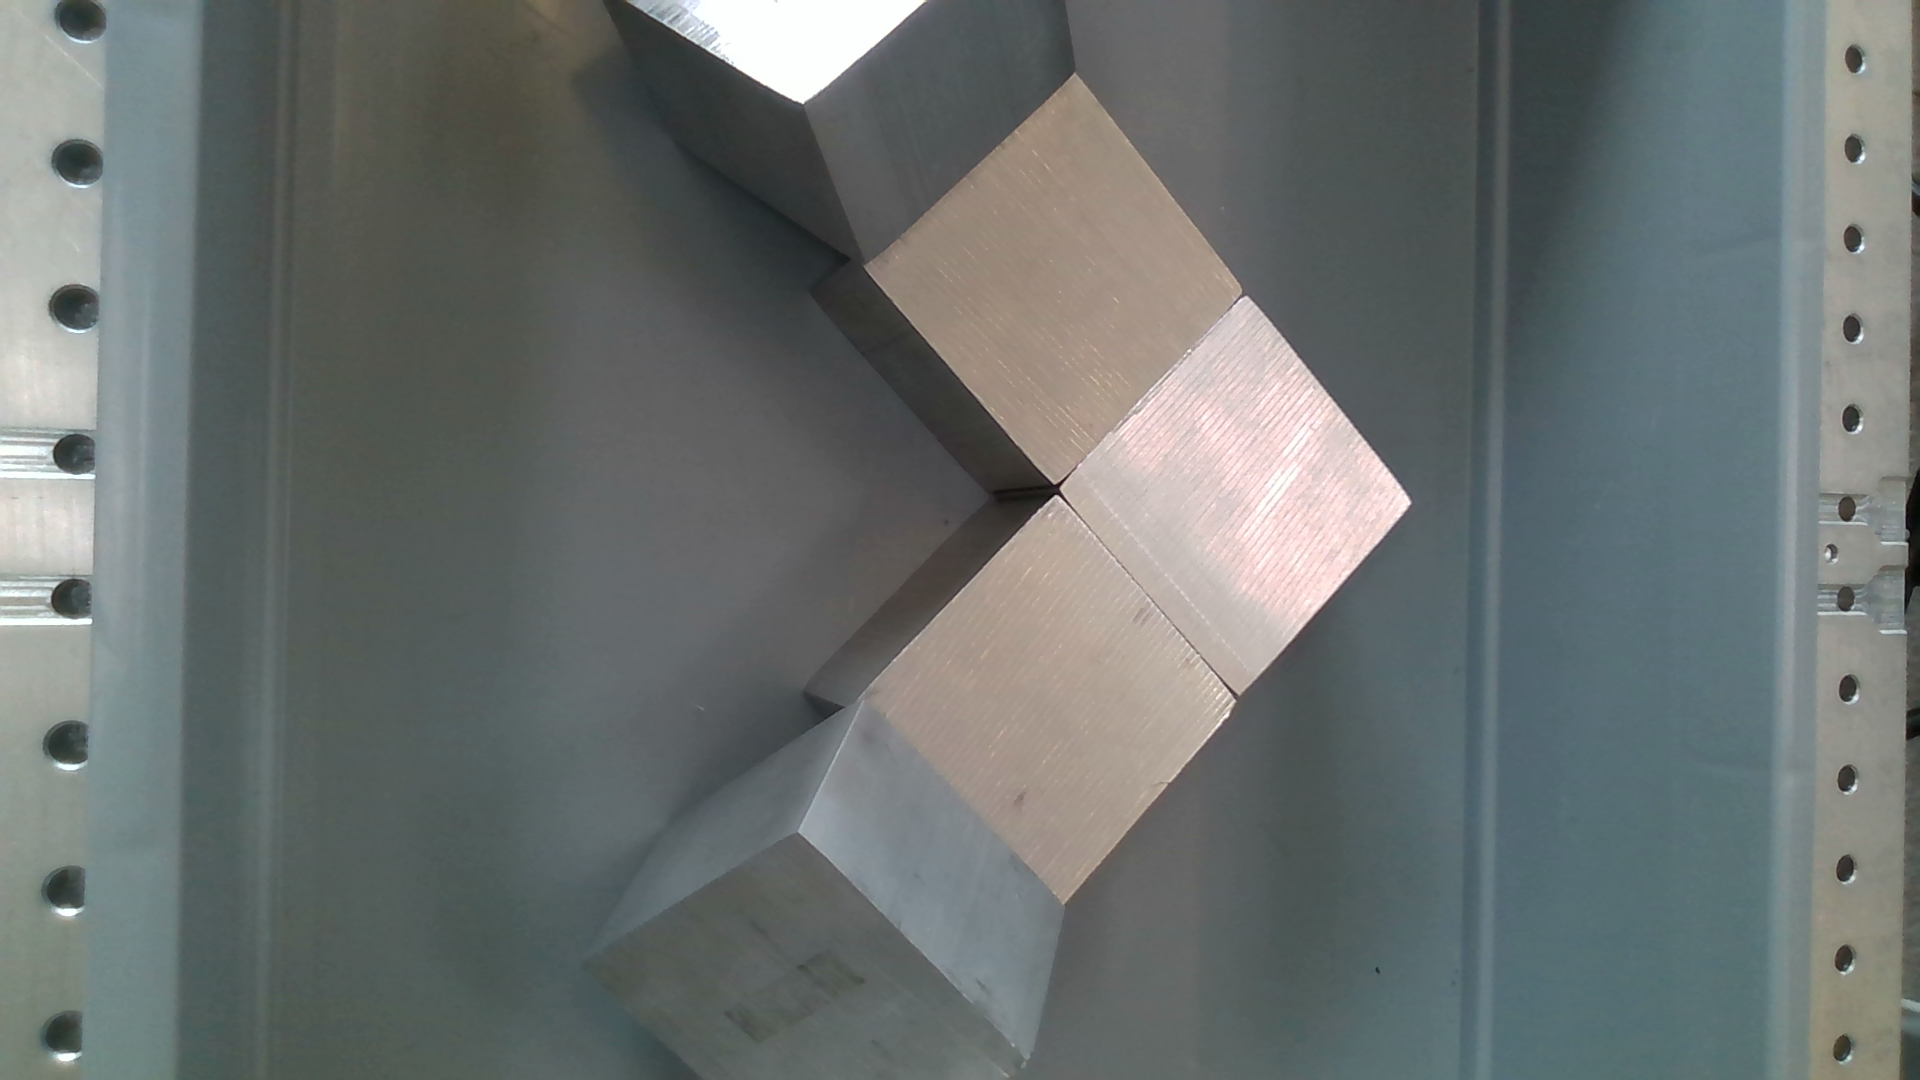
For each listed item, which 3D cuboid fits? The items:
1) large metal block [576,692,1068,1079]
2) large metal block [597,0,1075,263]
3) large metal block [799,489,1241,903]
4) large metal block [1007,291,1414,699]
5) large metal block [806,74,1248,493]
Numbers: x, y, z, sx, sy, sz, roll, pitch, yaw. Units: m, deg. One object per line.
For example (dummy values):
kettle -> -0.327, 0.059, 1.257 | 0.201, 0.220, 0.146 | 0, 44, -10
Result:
large metal block -> -0.032, 0.098, 0.345 | 0.080, 0.050, 0.080 | -35, 106, 28
large metal block -> -0.030, -0.129, 0.345 | 0.080, 0.050, 0.080 | 37, 74, 27
large metal block -> 0.016, 0.043, 0.385 | 0.080, 0.050, 0.080 | -46, 104, -14
large metal block -> 0.071, -0.012, 0.405 | 0.080, 0.050, 0.080 | -46, 104, -14
large metal block -> 0.018, -0.071, 0.386 | 0.080, 0.050, 0.080 | -46, 104, -14
